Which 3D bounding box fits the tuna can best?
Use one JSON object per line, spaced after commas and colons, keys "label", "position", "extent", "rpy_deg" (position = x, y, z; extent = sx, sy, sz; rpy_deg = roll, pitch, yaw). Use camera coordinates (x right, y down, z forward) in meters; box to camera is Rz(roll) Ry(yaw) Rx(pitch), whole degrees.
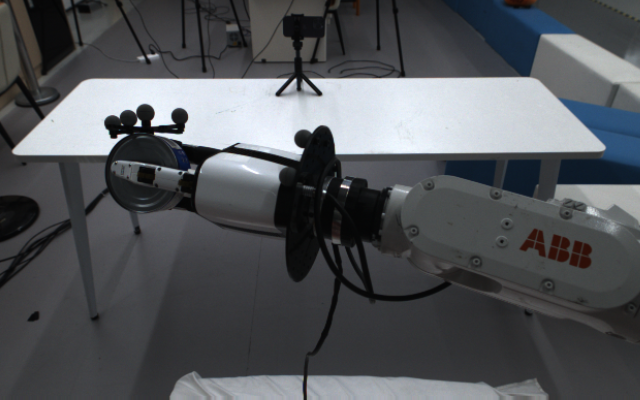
{"label": "tuna can", "position": [-0.182, -0.027, 0.527], "extent": [0.085, 0.085, 0.034], "rpy_deg": [10, 2, 11]}
